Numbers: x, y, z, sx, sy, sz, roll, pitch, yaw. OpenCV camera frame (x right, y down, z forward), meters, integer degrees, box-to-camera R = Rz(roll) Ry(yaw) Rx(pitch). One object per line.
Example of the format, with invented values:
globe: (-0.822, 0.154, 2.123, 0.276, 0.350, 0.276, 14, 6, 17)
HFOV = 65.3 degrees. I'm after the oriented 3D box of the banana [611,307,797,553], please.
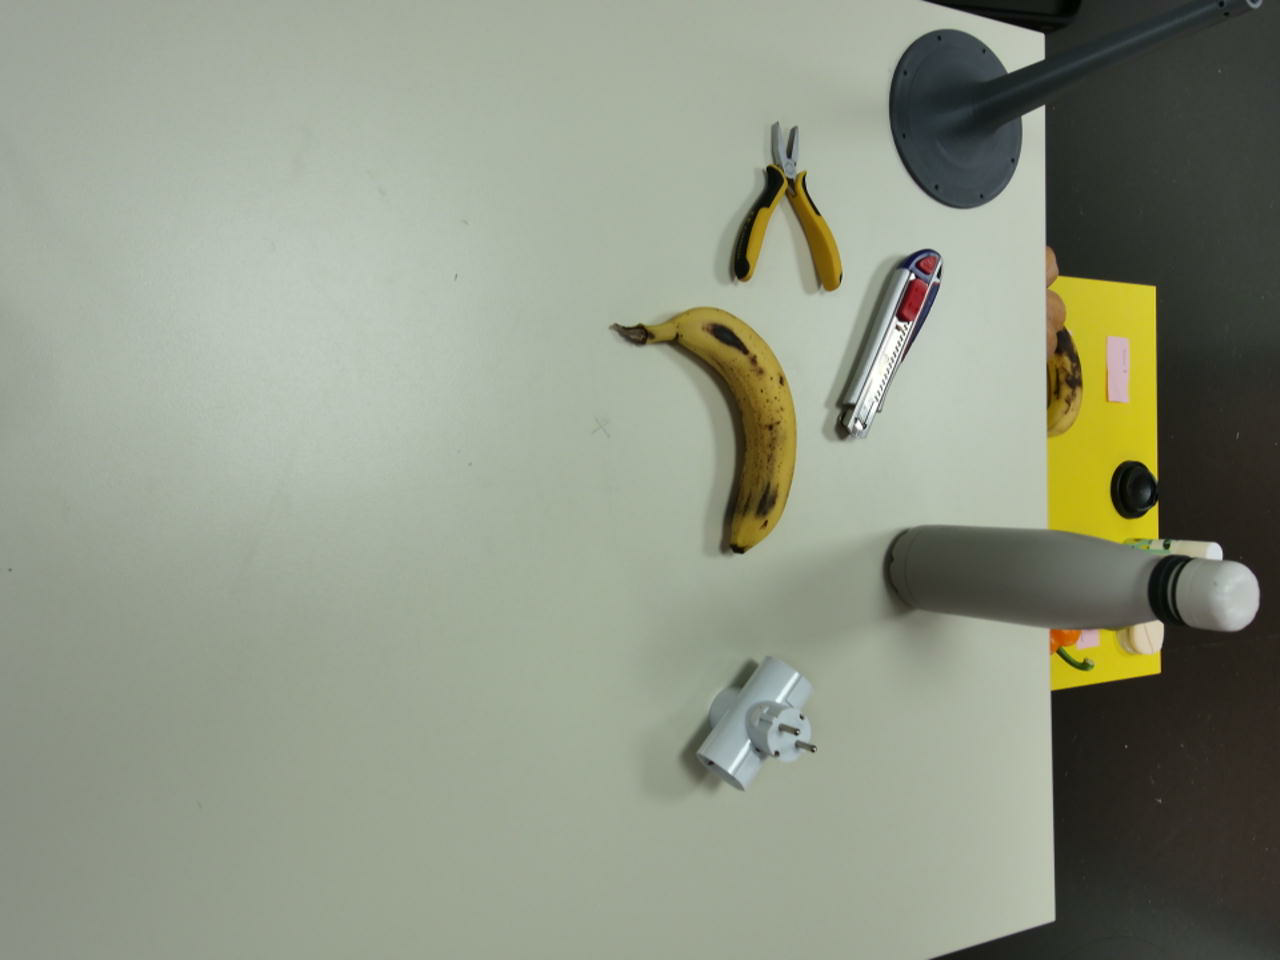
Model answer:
banana: (0.069, -0.047, 0.735, 0.097, 0.038, 0.186, -32, 104, -24)
